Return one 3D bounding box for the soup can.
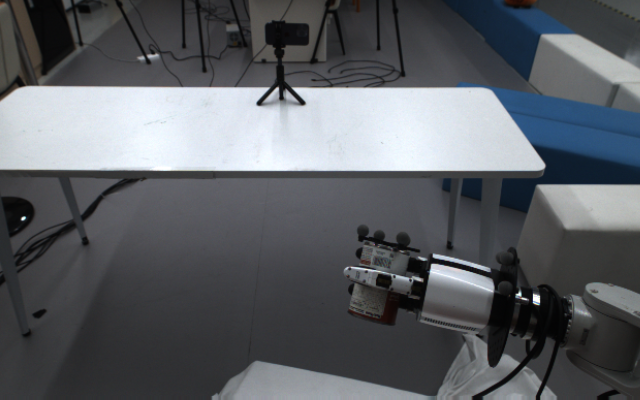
[{"bbox_3d":[0.084,0.115,0.672,0.067,0.101,0.067,13,-6,1],"label":"soup can"}]
